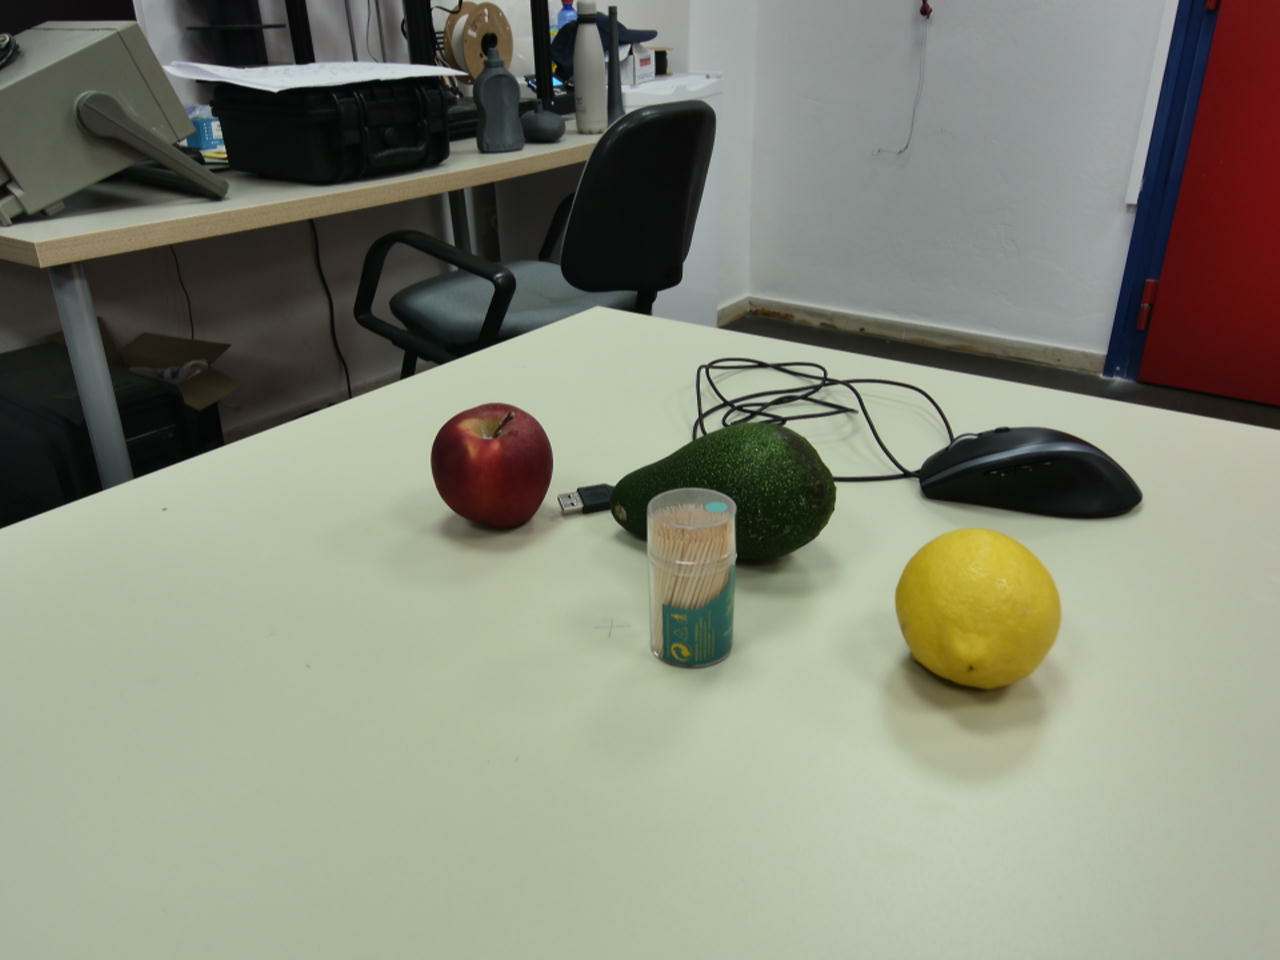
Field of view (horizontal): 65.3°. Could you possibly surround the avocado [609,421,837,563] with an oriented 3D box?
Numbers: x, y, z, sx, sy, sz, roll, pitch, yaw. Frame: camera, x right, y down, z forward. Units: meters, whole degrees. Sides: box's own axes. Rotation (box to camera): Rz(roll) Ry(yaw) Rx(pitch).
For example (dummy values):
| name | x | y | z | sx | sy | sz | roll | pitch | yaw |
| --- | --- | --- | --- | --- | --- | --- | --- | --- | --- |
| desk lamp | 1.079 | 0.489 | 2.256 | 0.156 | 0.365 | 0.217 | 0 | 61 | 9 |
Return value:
| name | x | y | z | sx | sy | sz | roll | pitch | yaw |
| --- | --- | --- | --- | --- | --- | --- | --- | --- | --- |
| avocado | 0.048 | 0.002 | 0.537 | 0.123 | 0.076 | 0.074 | 21 | 31 | 39 |
